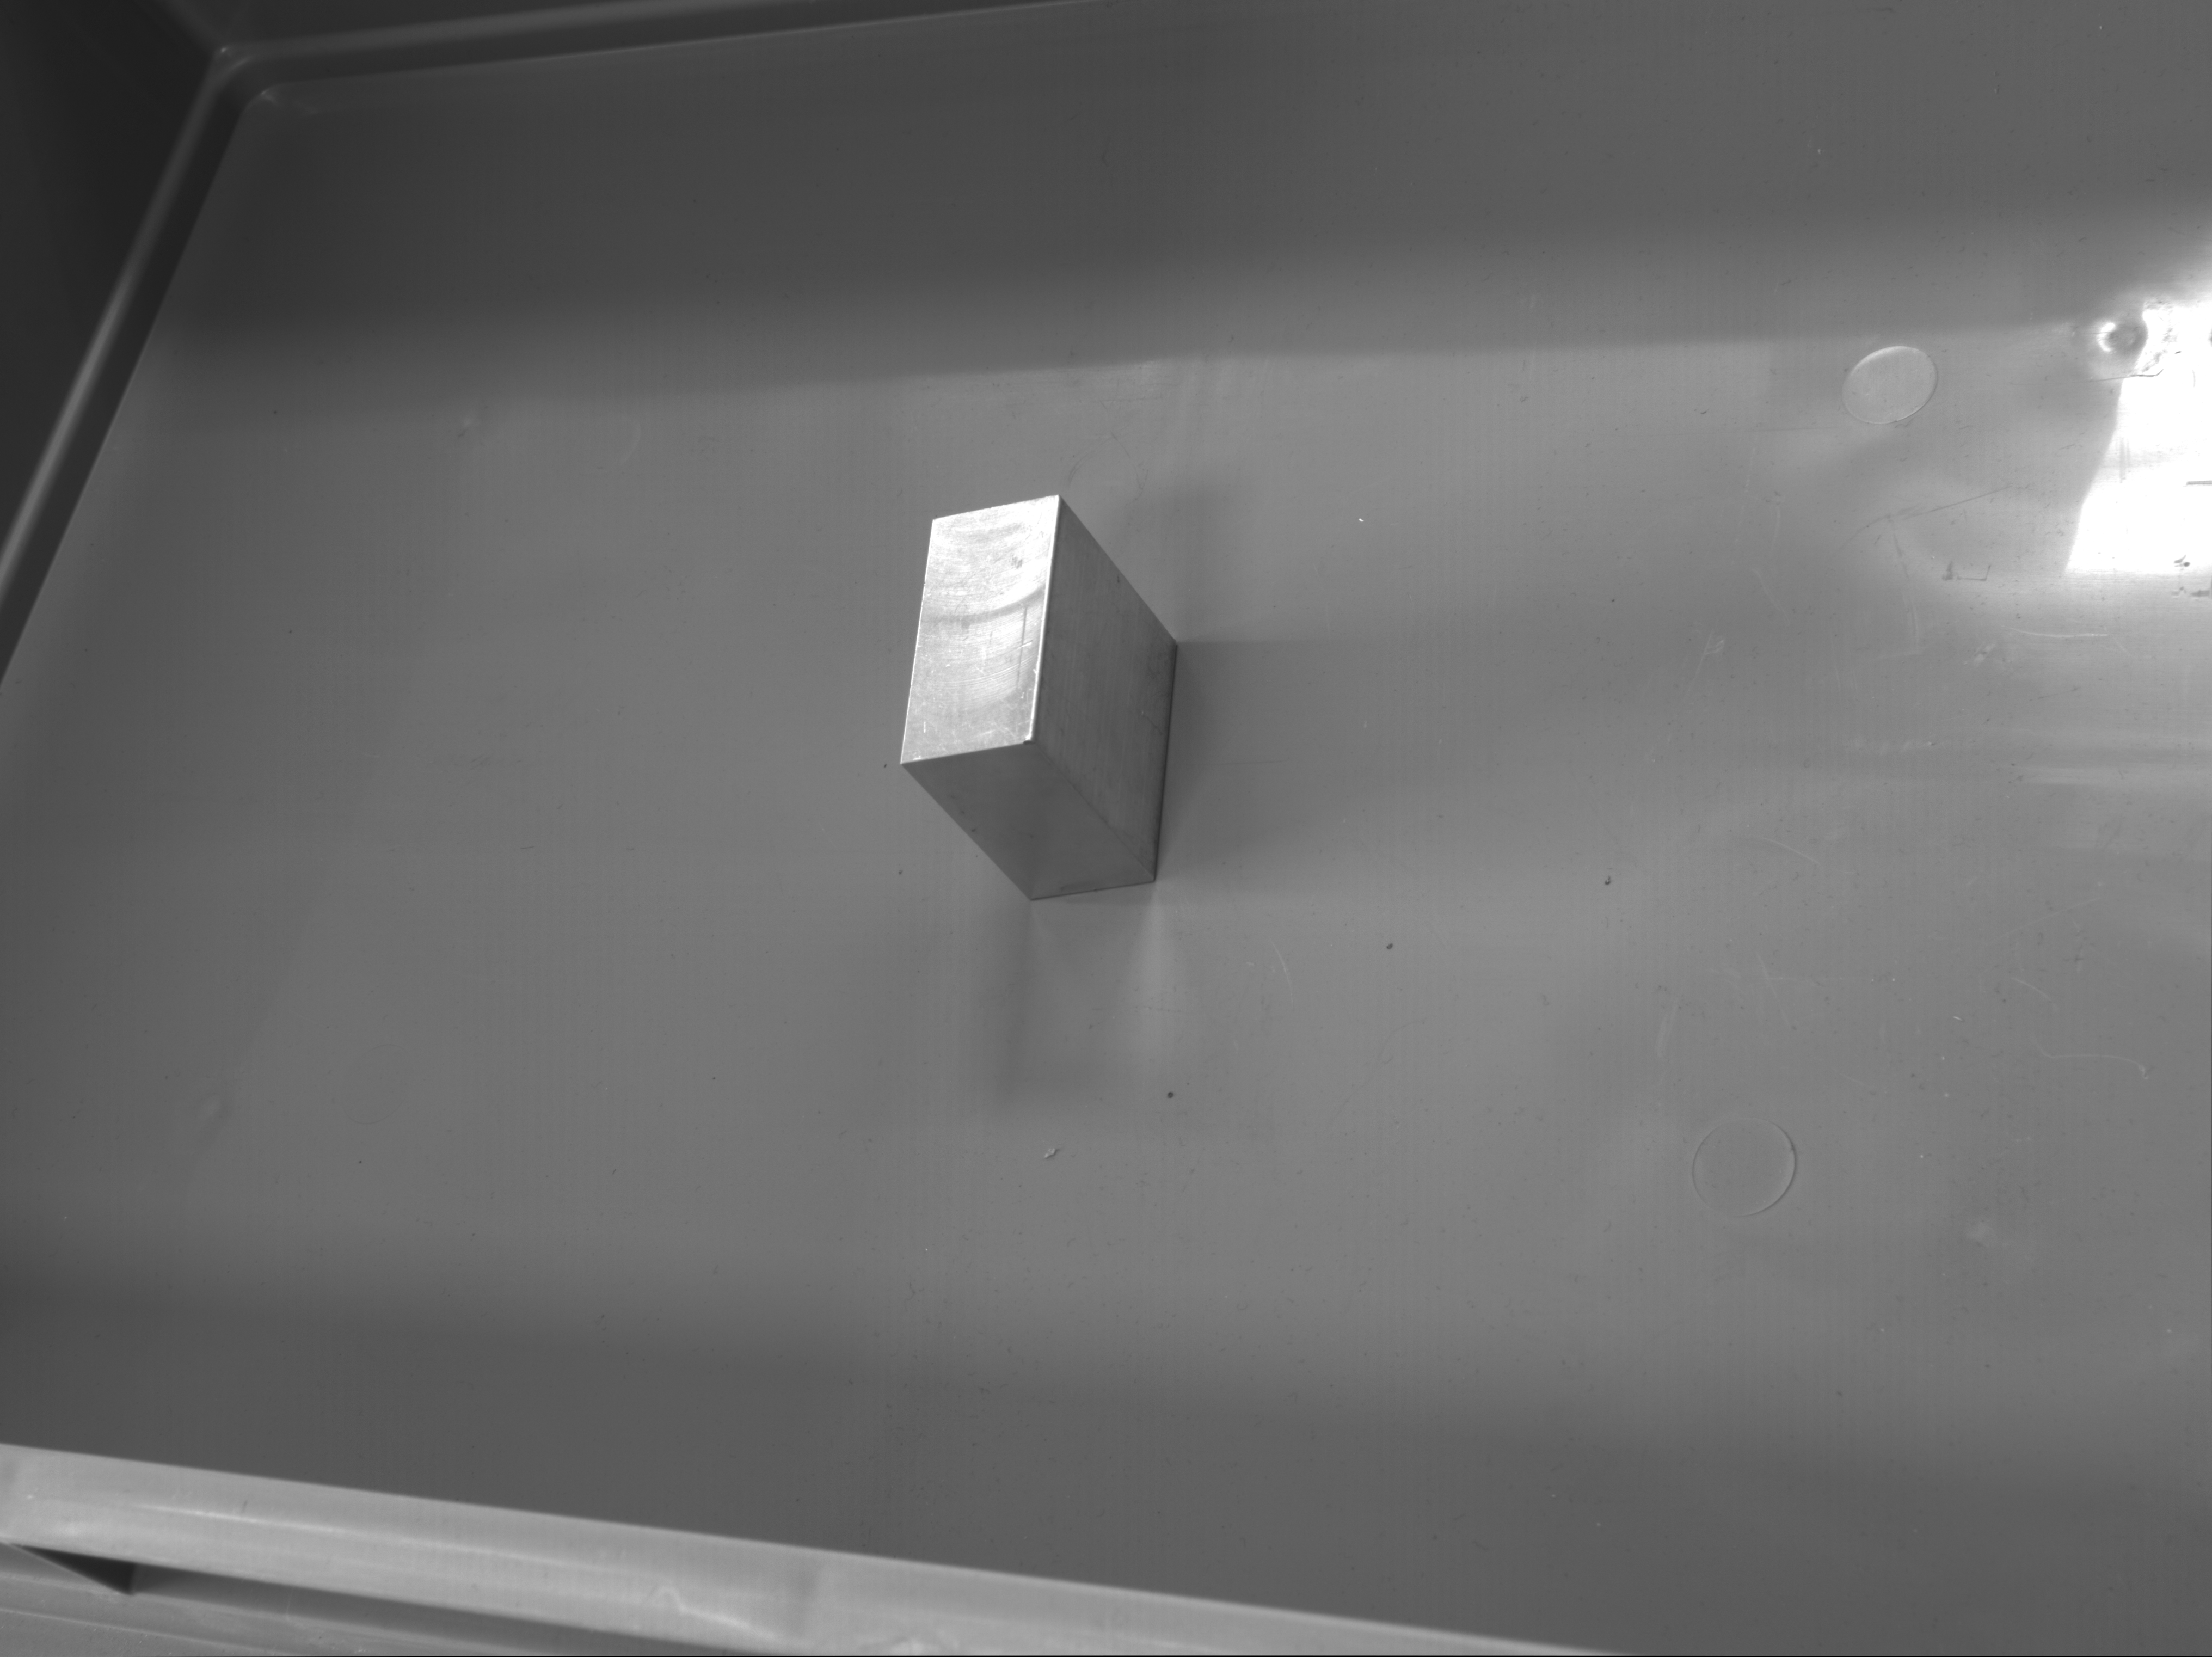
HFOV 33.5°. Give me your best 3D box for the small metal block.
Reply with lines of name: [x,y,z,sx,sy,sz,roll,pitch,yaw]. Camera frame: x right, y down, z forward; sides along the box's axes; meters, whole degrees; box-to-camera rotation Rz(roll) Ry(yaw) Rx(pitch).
small metal block: [-0.011,-0.022,0.645,0.025,0.050,0.050,-9,57,24]
